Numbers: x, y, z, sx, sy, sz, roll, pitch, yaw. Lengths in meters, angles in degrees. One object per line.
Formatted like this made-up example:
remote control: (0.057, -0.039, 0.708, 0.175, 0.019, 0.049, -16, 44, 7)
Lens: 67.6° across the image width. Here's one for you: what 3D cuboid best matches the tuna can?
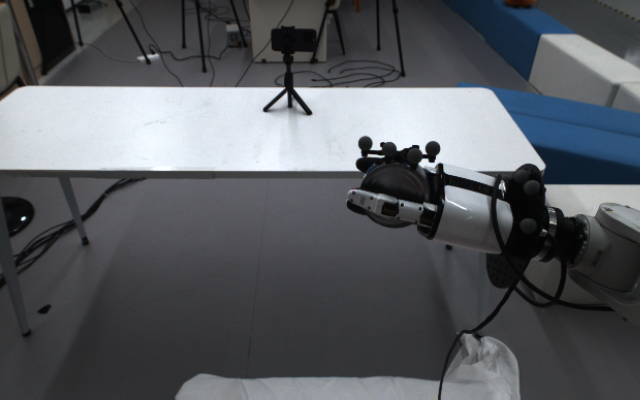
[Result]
tuna can: (0.094, -0.012, 0.602, 0.085, 0.085, 0.034, 9, 23, 10)
